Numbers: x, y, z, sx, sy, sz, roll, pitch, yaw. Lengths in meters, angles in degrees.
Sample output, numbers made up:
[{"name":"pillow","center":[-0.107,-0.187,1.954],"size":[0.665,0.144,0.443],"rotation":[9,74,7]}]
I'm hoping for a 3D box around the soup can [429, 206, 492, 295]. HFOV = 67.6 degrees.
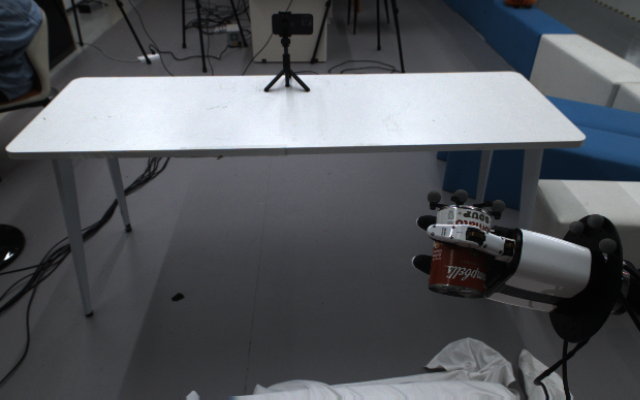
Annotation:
[{"name":"soup can","center":[0.175,0.064,0.596],"size":[0.067,0.067,0.101],"rotation":[8,72,9]}]
